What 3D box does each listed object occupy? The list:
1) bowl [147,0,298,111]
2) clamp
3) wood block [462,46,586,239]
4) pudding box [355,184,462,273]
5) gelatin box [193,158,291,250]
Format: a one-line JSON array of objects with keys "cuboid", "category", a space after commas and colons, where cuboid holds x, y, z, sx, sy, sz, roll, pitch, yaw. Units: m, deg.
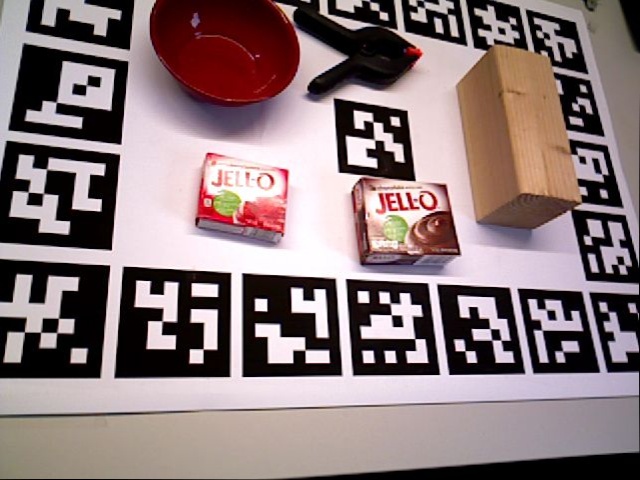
[{"cuboid": [-0.107, -0.200, 0.589, 0.160, 0.056, 0.160, 7, 72, -20], "category": "bowl"}, {"cuboid": [0.036, -0.223, 0.665, 0.162, 0.037, 0.121, -6, 73, -25], "category": "clamp"}, {"cuboid": [0.248, -0.116, 0.667, 0.089, 0.093, 0.204, 7, 69, -20], "category": "wood block"}, {"cuboid": [0.097, -0.011, 0.602, 0.112, 0.039, 0.089, 3, 74, -18], "category": "pudding box"}, {"cuboid": [-0.077, -0.036, 0.547, 0.088, 0.031, 0.072, 12, 69, -17], "category": "gelatin box"}]
